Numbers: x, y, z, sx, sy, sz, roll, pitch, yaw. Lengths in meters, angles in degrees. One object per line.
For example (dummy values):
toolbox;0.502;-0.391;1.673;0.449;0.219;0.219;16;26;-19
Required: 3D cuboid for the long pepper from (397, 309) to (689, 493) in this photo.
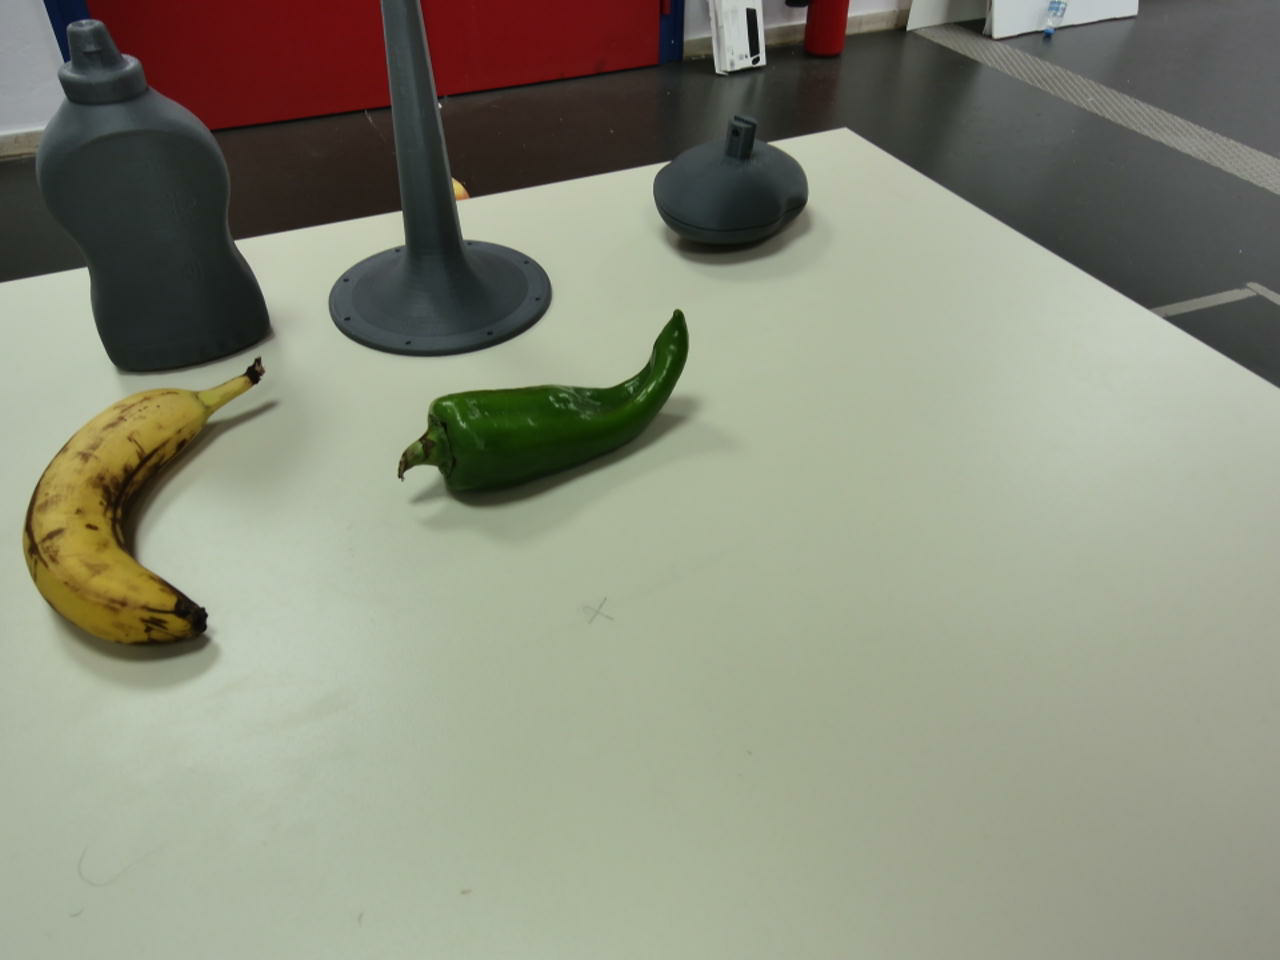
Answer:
long pepper;-0.046;-0.039;0.532;0.175;0.065;0.058;-17;42;-21
